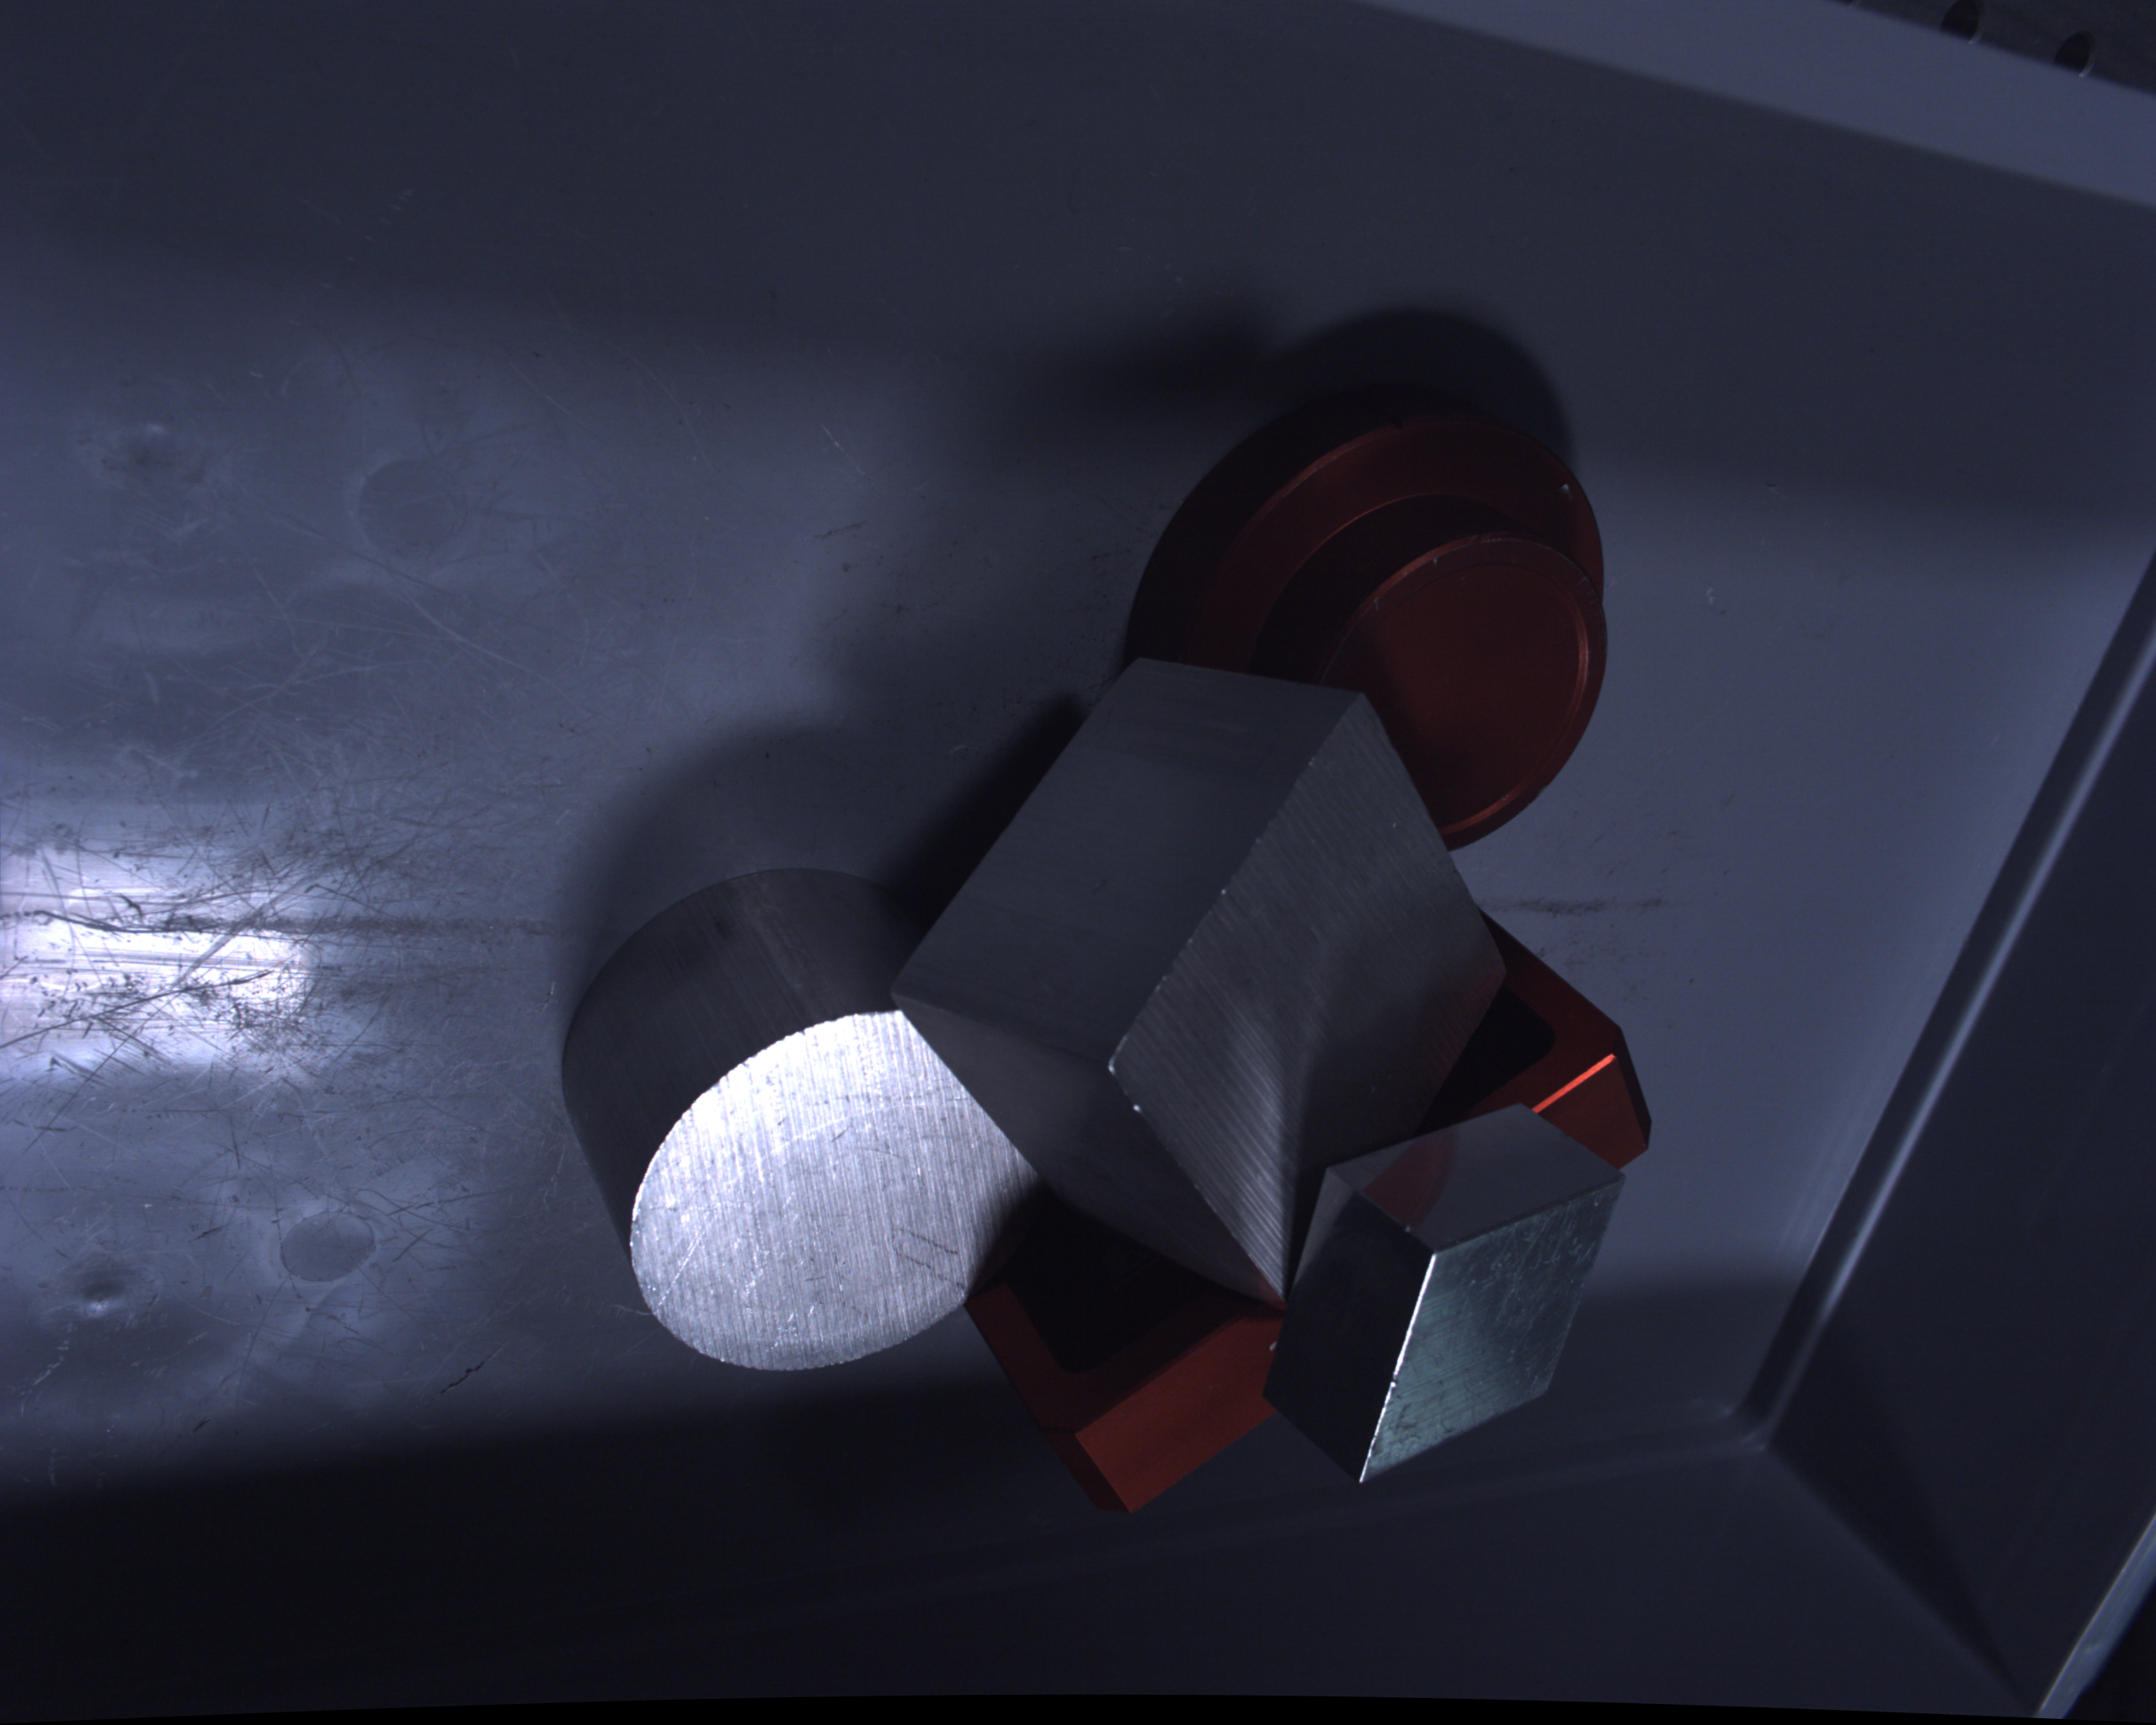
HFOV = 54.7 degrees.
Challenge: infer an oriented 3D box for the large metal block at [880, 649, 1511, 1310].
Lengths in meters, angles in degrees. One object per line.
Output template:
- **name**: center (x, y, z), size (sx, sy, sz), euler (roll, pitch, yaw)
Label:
- **large metal block**: center (0.025, 0.021, 0.372), size (0.080, 0.050, 0.080), euler (-54, 133, -22)

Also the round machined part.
- **round machined part**: center (0.062, -0.040, 0.407), size (0.099, 0.042, 0.097), euler (-14, 125, -21)

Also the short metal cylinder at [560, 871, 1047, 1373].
- **short metal cylinder**: center (-0.051, 0.048, 0.393), size (0.081, 0.050, 0.079), euler (-14, 125, -21)

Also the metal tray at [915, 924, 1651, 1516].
- **metal tray**: center (0.036, 0.058, 0.421), size (0.131, 0.090, 0.030), euler (-33, 128, -7)

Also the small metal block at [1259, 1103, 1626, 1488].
- **small metal block**: center (0.064, 0.075, 0.366), size (0.050, 0.025, 0.050), euler (-11, 124, -39)
